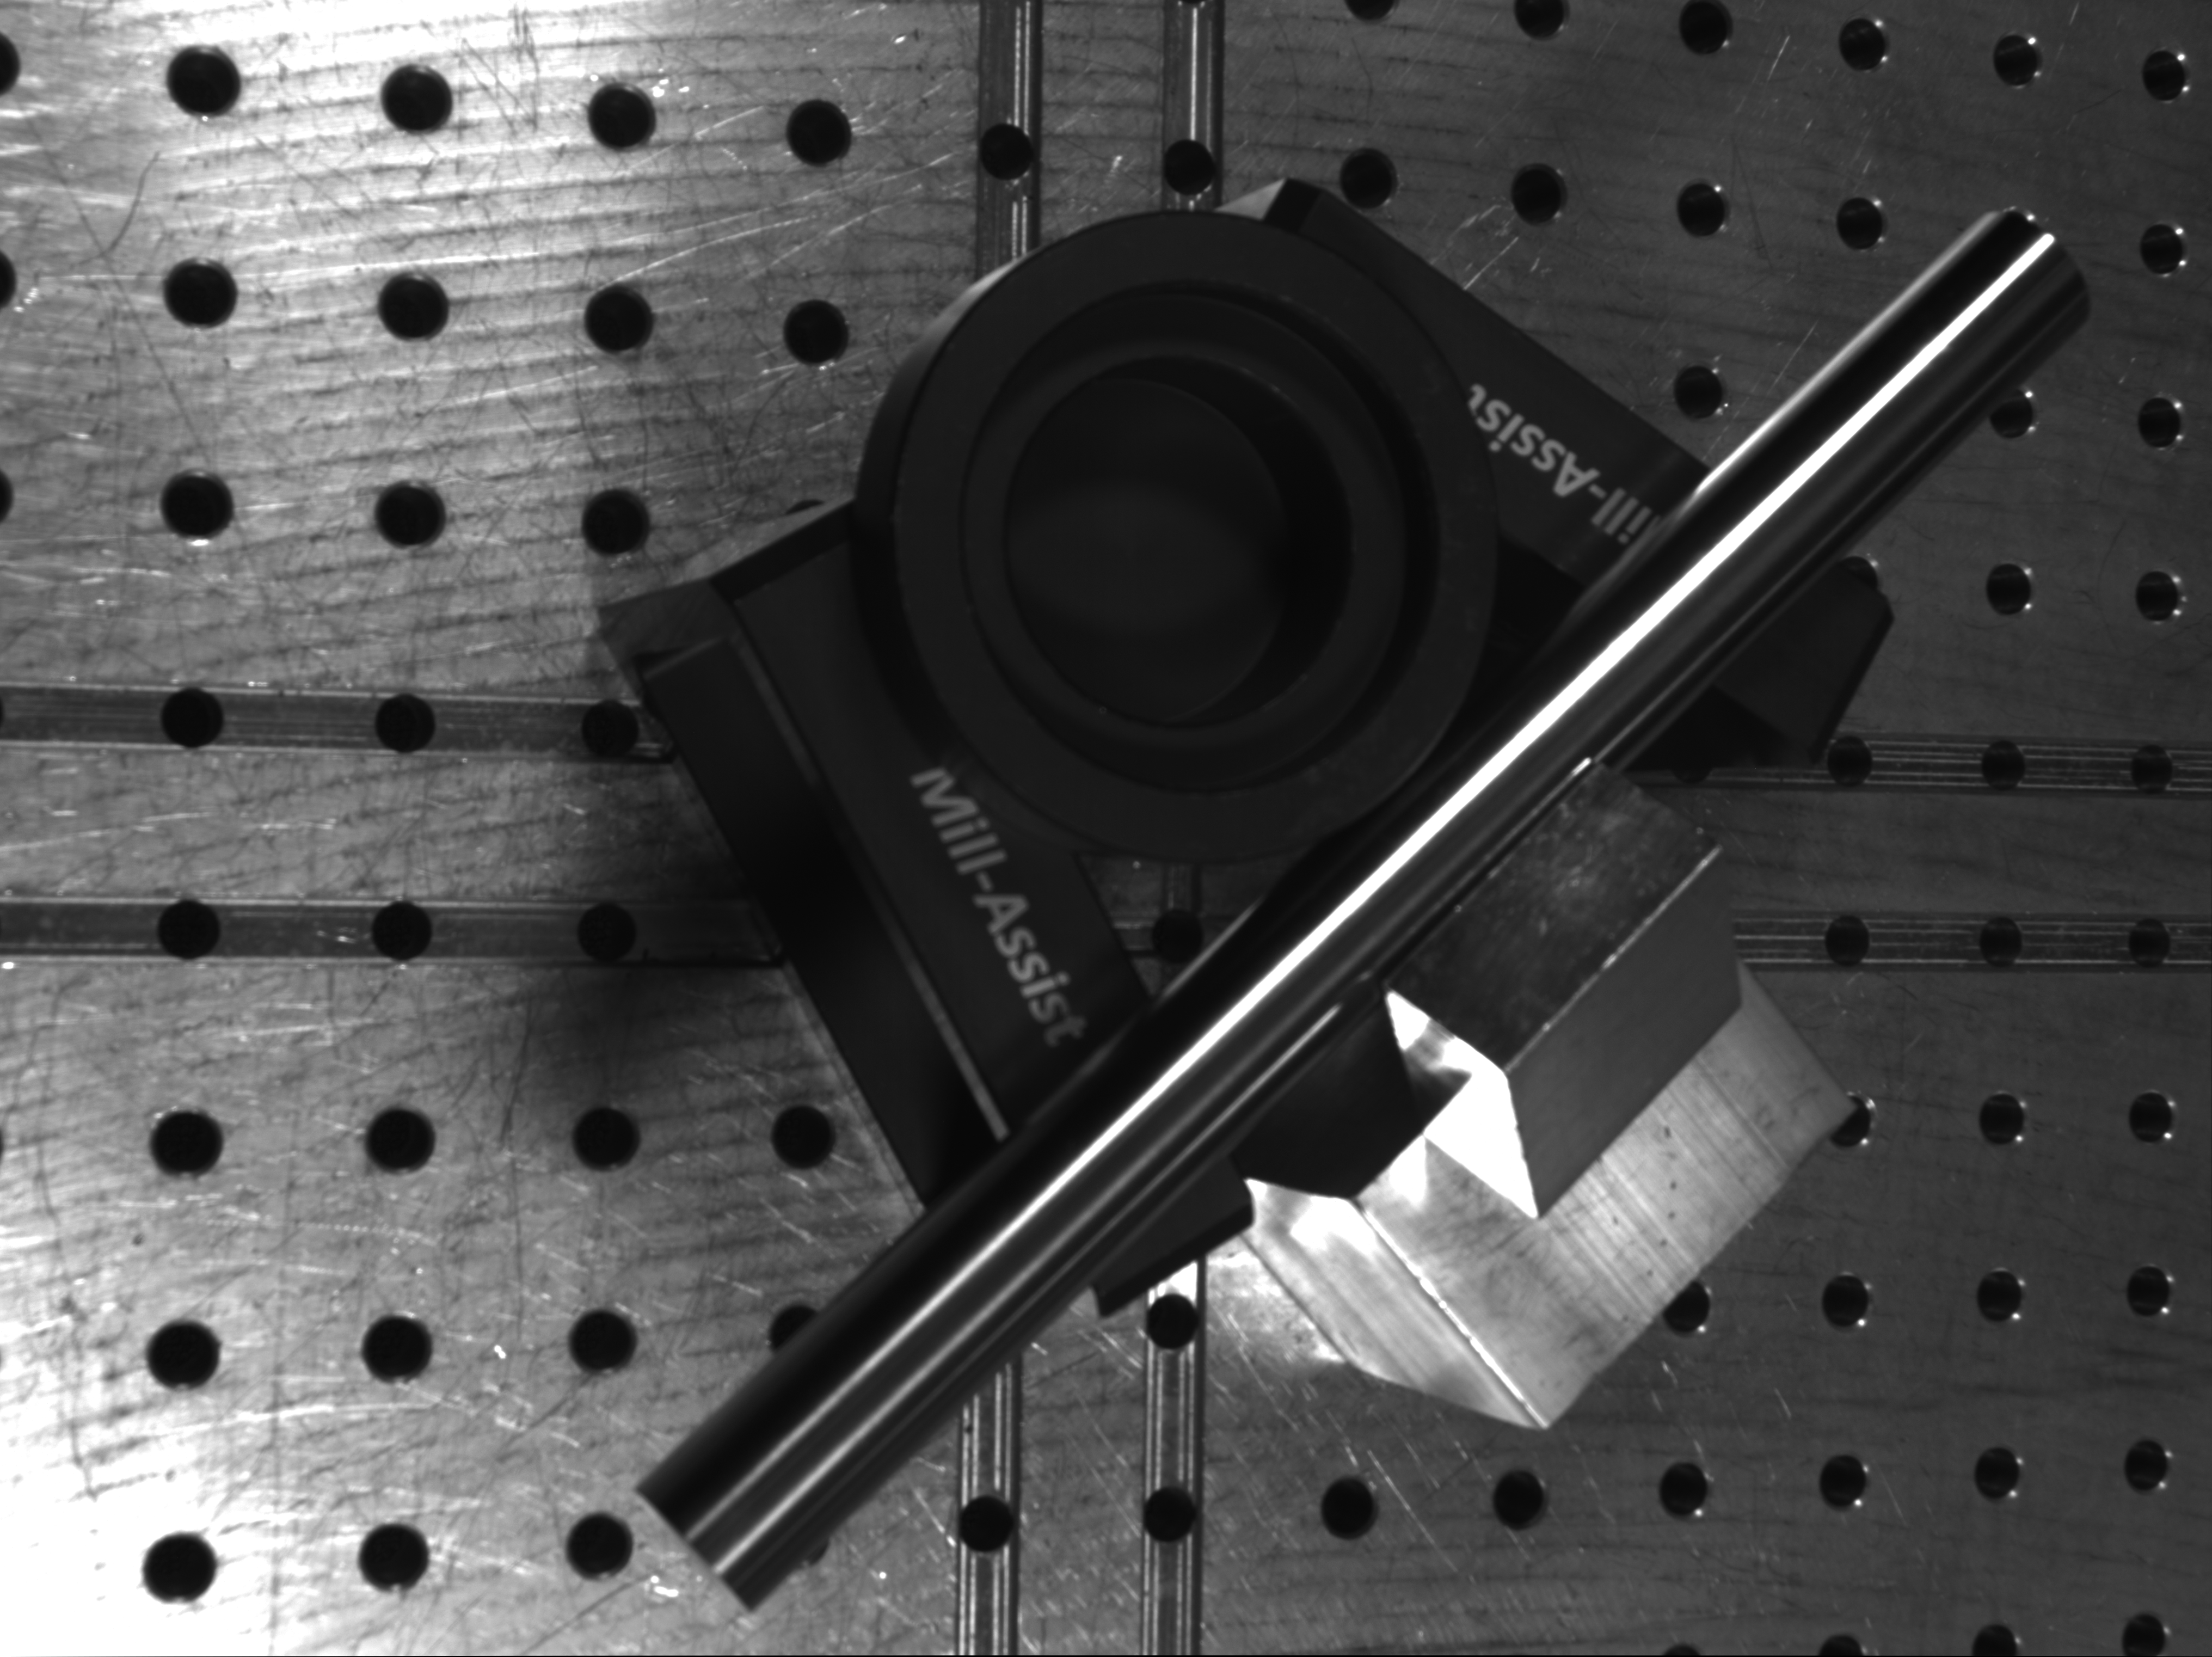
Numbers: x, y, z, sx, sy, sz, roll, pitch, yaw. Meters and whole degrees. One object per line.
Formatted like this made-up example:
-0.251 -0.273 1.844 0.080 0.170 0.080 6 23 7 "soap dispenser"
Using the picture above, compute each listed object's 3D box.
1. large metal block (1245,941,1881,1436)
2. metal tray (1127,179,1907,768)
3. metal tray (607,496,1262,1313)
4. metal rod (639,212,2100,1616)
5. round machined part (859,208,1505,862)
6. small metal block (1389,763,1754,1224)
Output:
0.073 0.054 0.640 0.080 0.080 0.050 -43 103 -15 "large metal block"
0.063 -0.057 0.633 0.130 0.090 0.030 33 80 -17 "metal tray"
-0.030 0.012 0.600 0.030 0.090 0.130 -30 100 -17 "metal tray"
0.048 0.006 0.567 0.300 0.025 0.025 -43 103 -15 "metal rod"
0.009 -0.044 0.567 0.098 0.042 0.098 0 90 -20 "round machined part"
0.074 0.026 0.572 0.050 0.050 0.025 -44 59 -15 "small metal block"
